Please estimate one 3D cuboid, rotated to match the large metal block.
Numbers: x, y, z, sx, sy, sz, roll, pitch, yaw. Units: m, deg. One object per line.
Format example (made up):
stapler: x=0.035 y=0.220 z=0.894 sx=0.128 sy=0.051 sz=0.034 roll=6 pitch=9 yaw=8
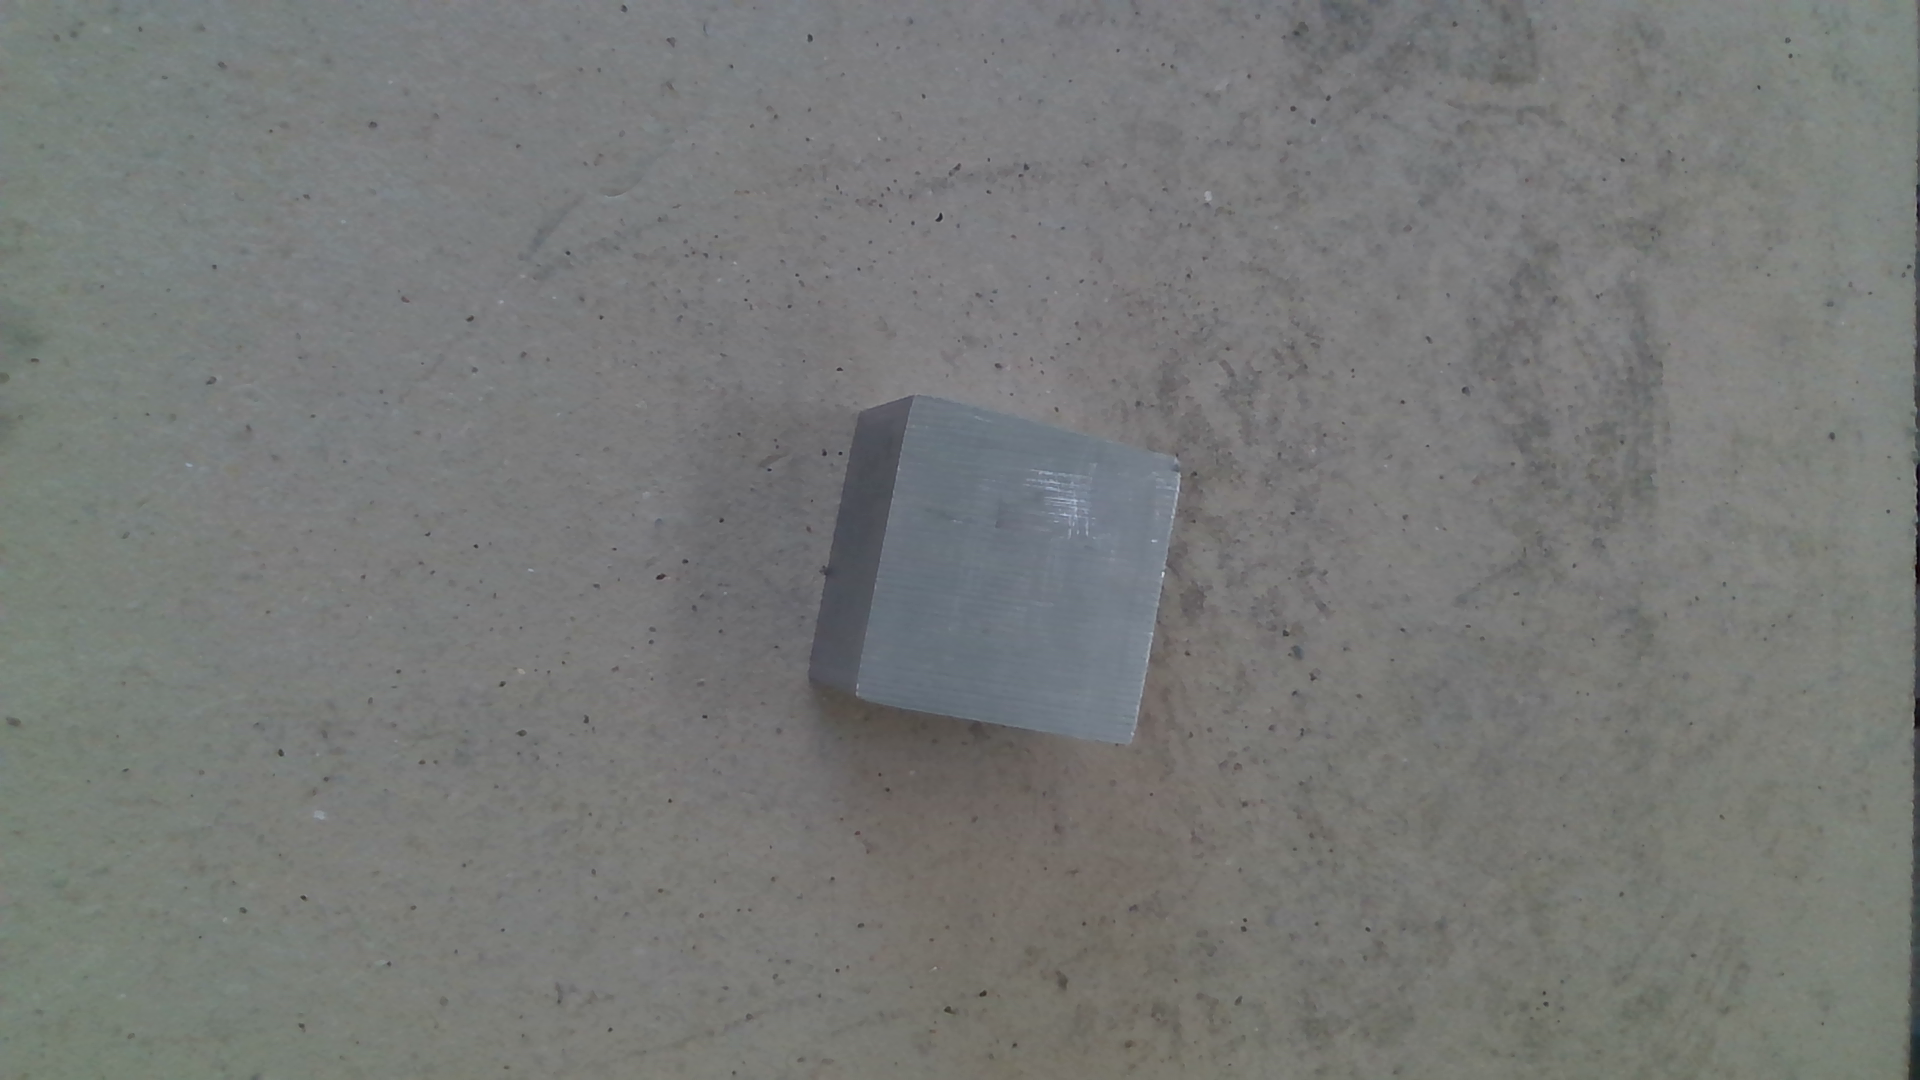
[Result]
large metal block: x=0.009 y=0.008 z=0.384 sx=0.080 sy=0.050 sz=0.080 roll=12 pitch=87 yaw=-20
